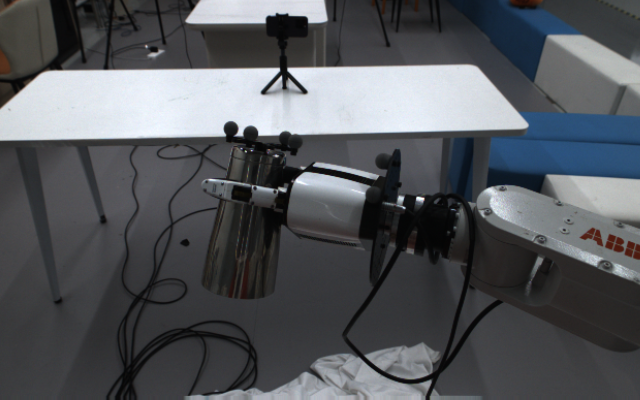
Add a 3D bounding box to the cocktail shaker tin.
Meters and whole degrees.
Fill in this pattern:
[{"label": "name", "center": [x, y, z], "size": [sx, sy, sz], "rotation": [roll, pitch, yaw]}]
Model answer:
[{"label": "cocktail shaker tin", "center": [-0.084, 0.021, 0.592], "size": [0.093, 0.170, 0.093], "rotation": [10, 9, -2]}]
